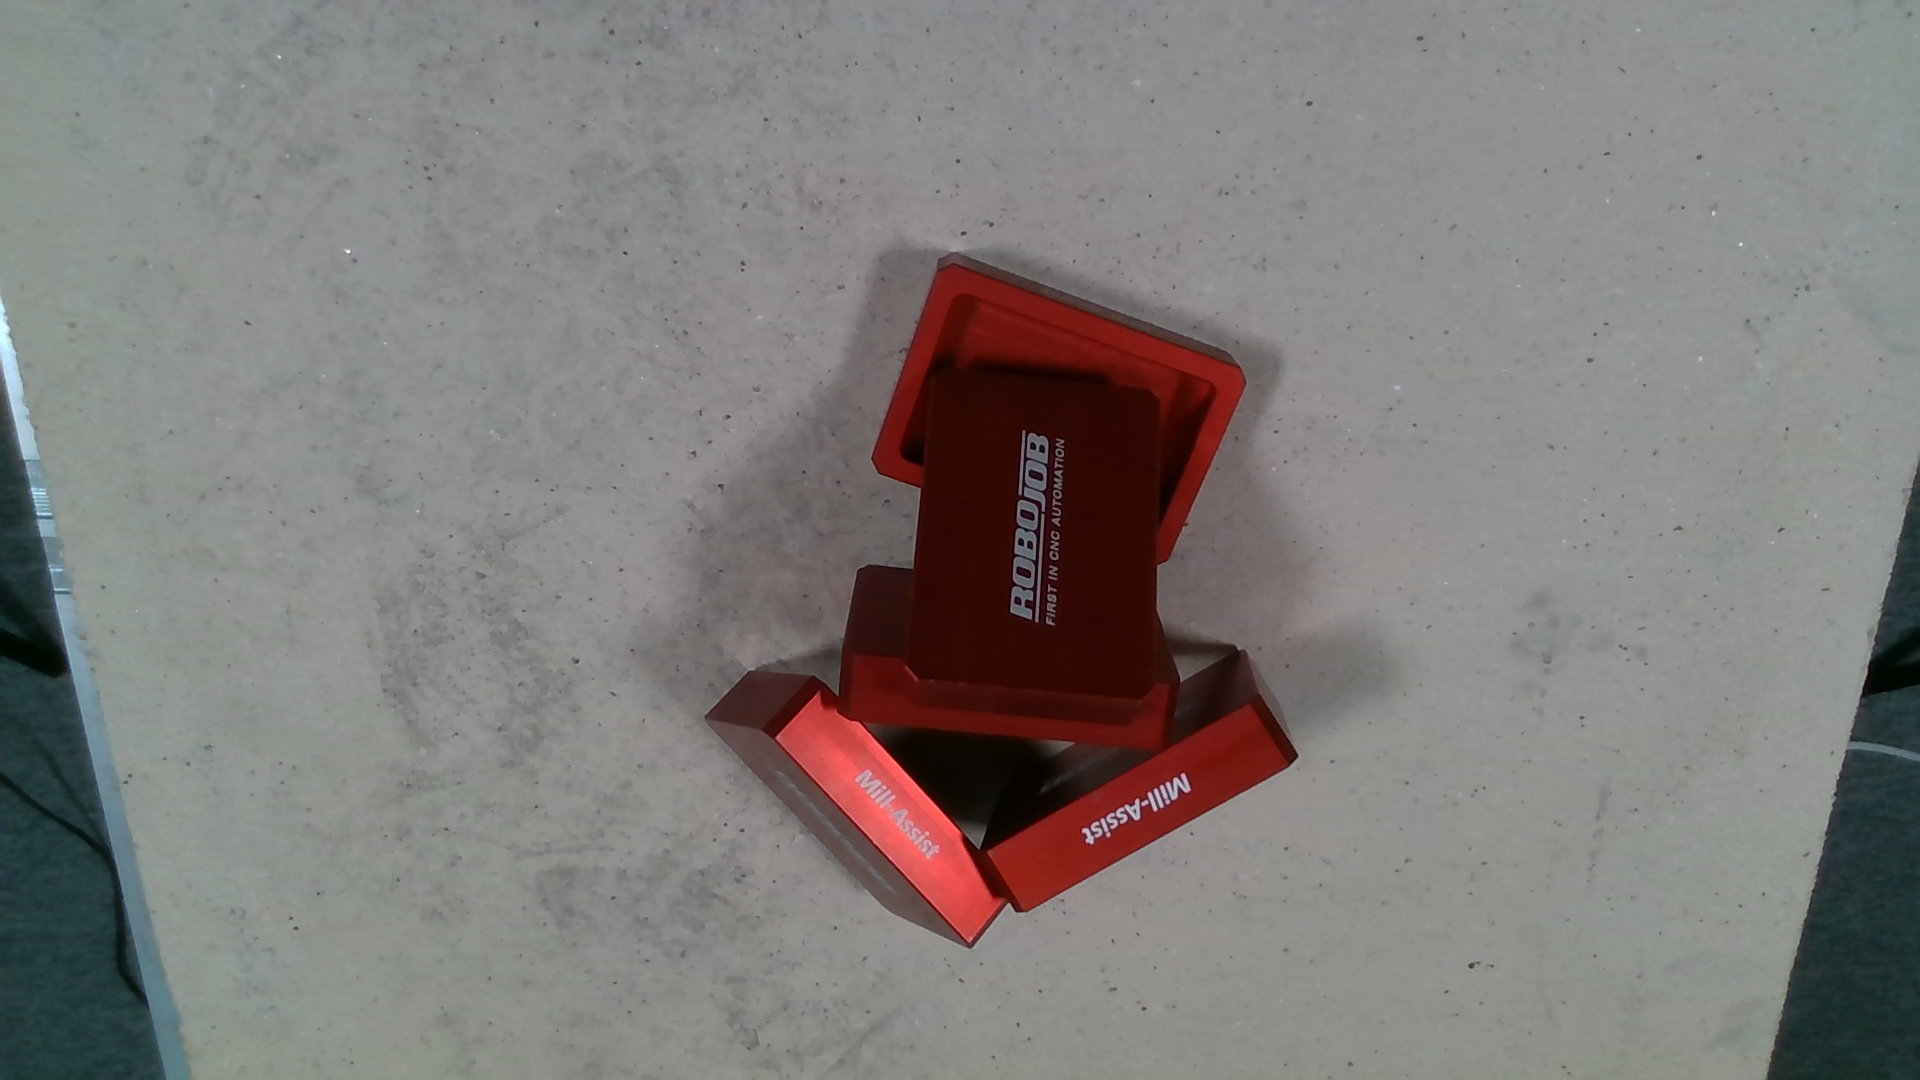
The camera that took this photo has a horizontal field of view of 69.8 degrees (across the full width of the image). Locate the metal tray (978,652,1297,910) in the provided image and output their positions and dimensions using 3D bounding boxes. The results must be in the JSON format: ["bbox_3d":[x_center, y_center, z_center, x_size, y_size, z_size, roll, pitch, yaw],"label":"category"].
[{"bbox_3d":[0.074,0.099,0.584,0.130,0.090,0.030,-32,93,11],"label":"metal tray"}]

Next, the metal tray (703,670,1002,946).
[{"bbox_3d":[-0.045,0.113,0.592,0.030,0.090,0.130,-47,107,-21],"label":"metal tray"}]

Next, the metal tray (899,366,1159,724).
[{"bbox_3d":[0.027,0.001,0.525,0.090,0.030,0.130,6,66,-2],"label":"metal tray"}]

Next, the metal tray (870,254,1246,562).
[{"bbox_3d":[0.038,-0.053,0.563,0.130,0.030,0.090,19,109,-7],"label":"metal tray"}]

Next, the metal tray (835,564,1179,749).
[{"bbox_3d":[0.018,0.046,0.567,0.130,0.090,0.030,6,110,-2],"label":"metal tray"}]
